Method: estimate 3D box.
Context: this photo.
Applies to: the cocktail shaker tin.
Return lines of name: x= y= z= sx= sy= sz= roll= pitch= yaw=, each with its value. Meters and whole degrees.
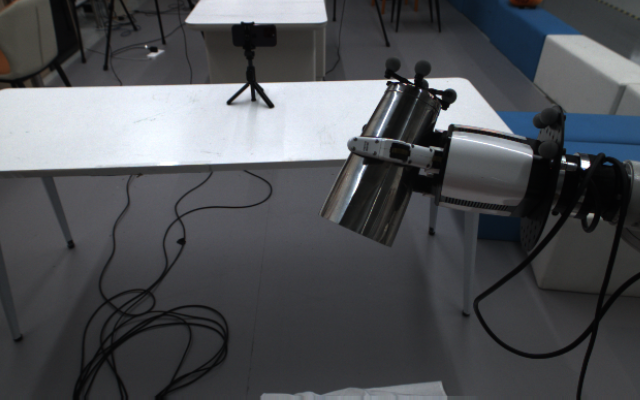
cocktail shaker tin: x=0.077 y=-0.045 z=0.553 sx=0.093 sy=0.170 sz=0.093 roll=23 pitch=-1 yaw=0
